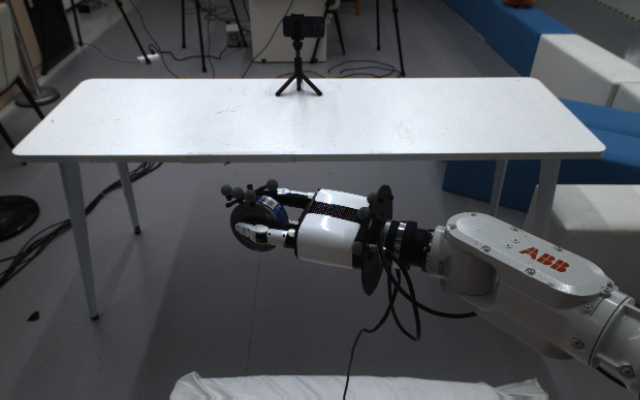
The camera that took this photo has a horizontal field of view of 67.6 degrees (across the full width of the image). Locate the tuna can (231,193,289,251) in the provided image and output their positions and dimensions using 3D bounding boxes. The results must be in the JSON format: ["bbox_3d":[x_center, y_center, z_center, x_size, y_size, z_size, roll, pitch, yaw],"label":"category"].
[{"bbox_3d":[-0.086,0.036,0.741,0.085,0.085,0.034,13,28,15],"label":"tuna can"}]
